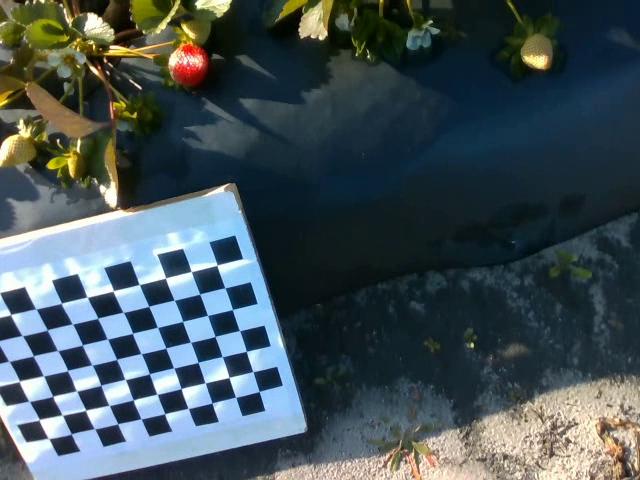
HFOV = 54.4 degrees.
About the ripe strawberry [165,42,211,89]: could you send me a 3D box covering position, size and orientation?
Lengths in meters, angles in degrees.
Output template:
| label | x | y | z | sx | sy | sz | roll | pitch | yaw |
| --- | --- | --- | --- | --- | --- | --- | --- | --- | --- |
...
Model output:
| label | x | y | z | sx | sy | sz | roll | pitch | yaw |
| --- | --- | --- | --- | --- | --- | --- | --- | --- | --- |
| ripe strawberry | -0.090 | -0.130 | 0.461 | 0.042 | 0.037 | 0.045 | -40 | 22 | -18 |
